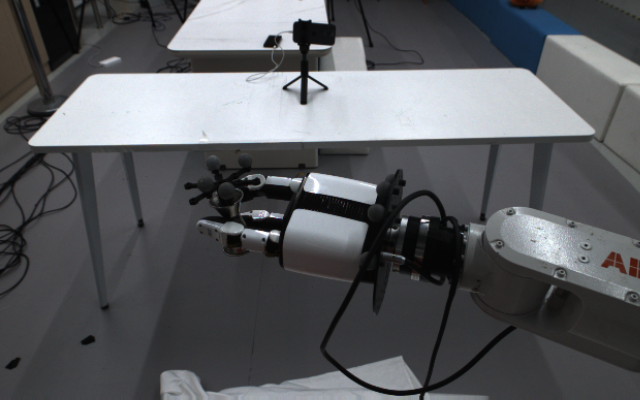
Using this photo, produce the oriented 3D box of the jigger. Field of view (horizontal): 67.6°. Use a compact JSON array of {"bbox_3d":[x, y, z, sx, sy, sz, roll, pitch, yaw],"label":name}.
[{"bbox_3d":[-0.098,0.024,0.567,0.043,0.071,0.043,-9,31,5],"label":"jigger"}]
